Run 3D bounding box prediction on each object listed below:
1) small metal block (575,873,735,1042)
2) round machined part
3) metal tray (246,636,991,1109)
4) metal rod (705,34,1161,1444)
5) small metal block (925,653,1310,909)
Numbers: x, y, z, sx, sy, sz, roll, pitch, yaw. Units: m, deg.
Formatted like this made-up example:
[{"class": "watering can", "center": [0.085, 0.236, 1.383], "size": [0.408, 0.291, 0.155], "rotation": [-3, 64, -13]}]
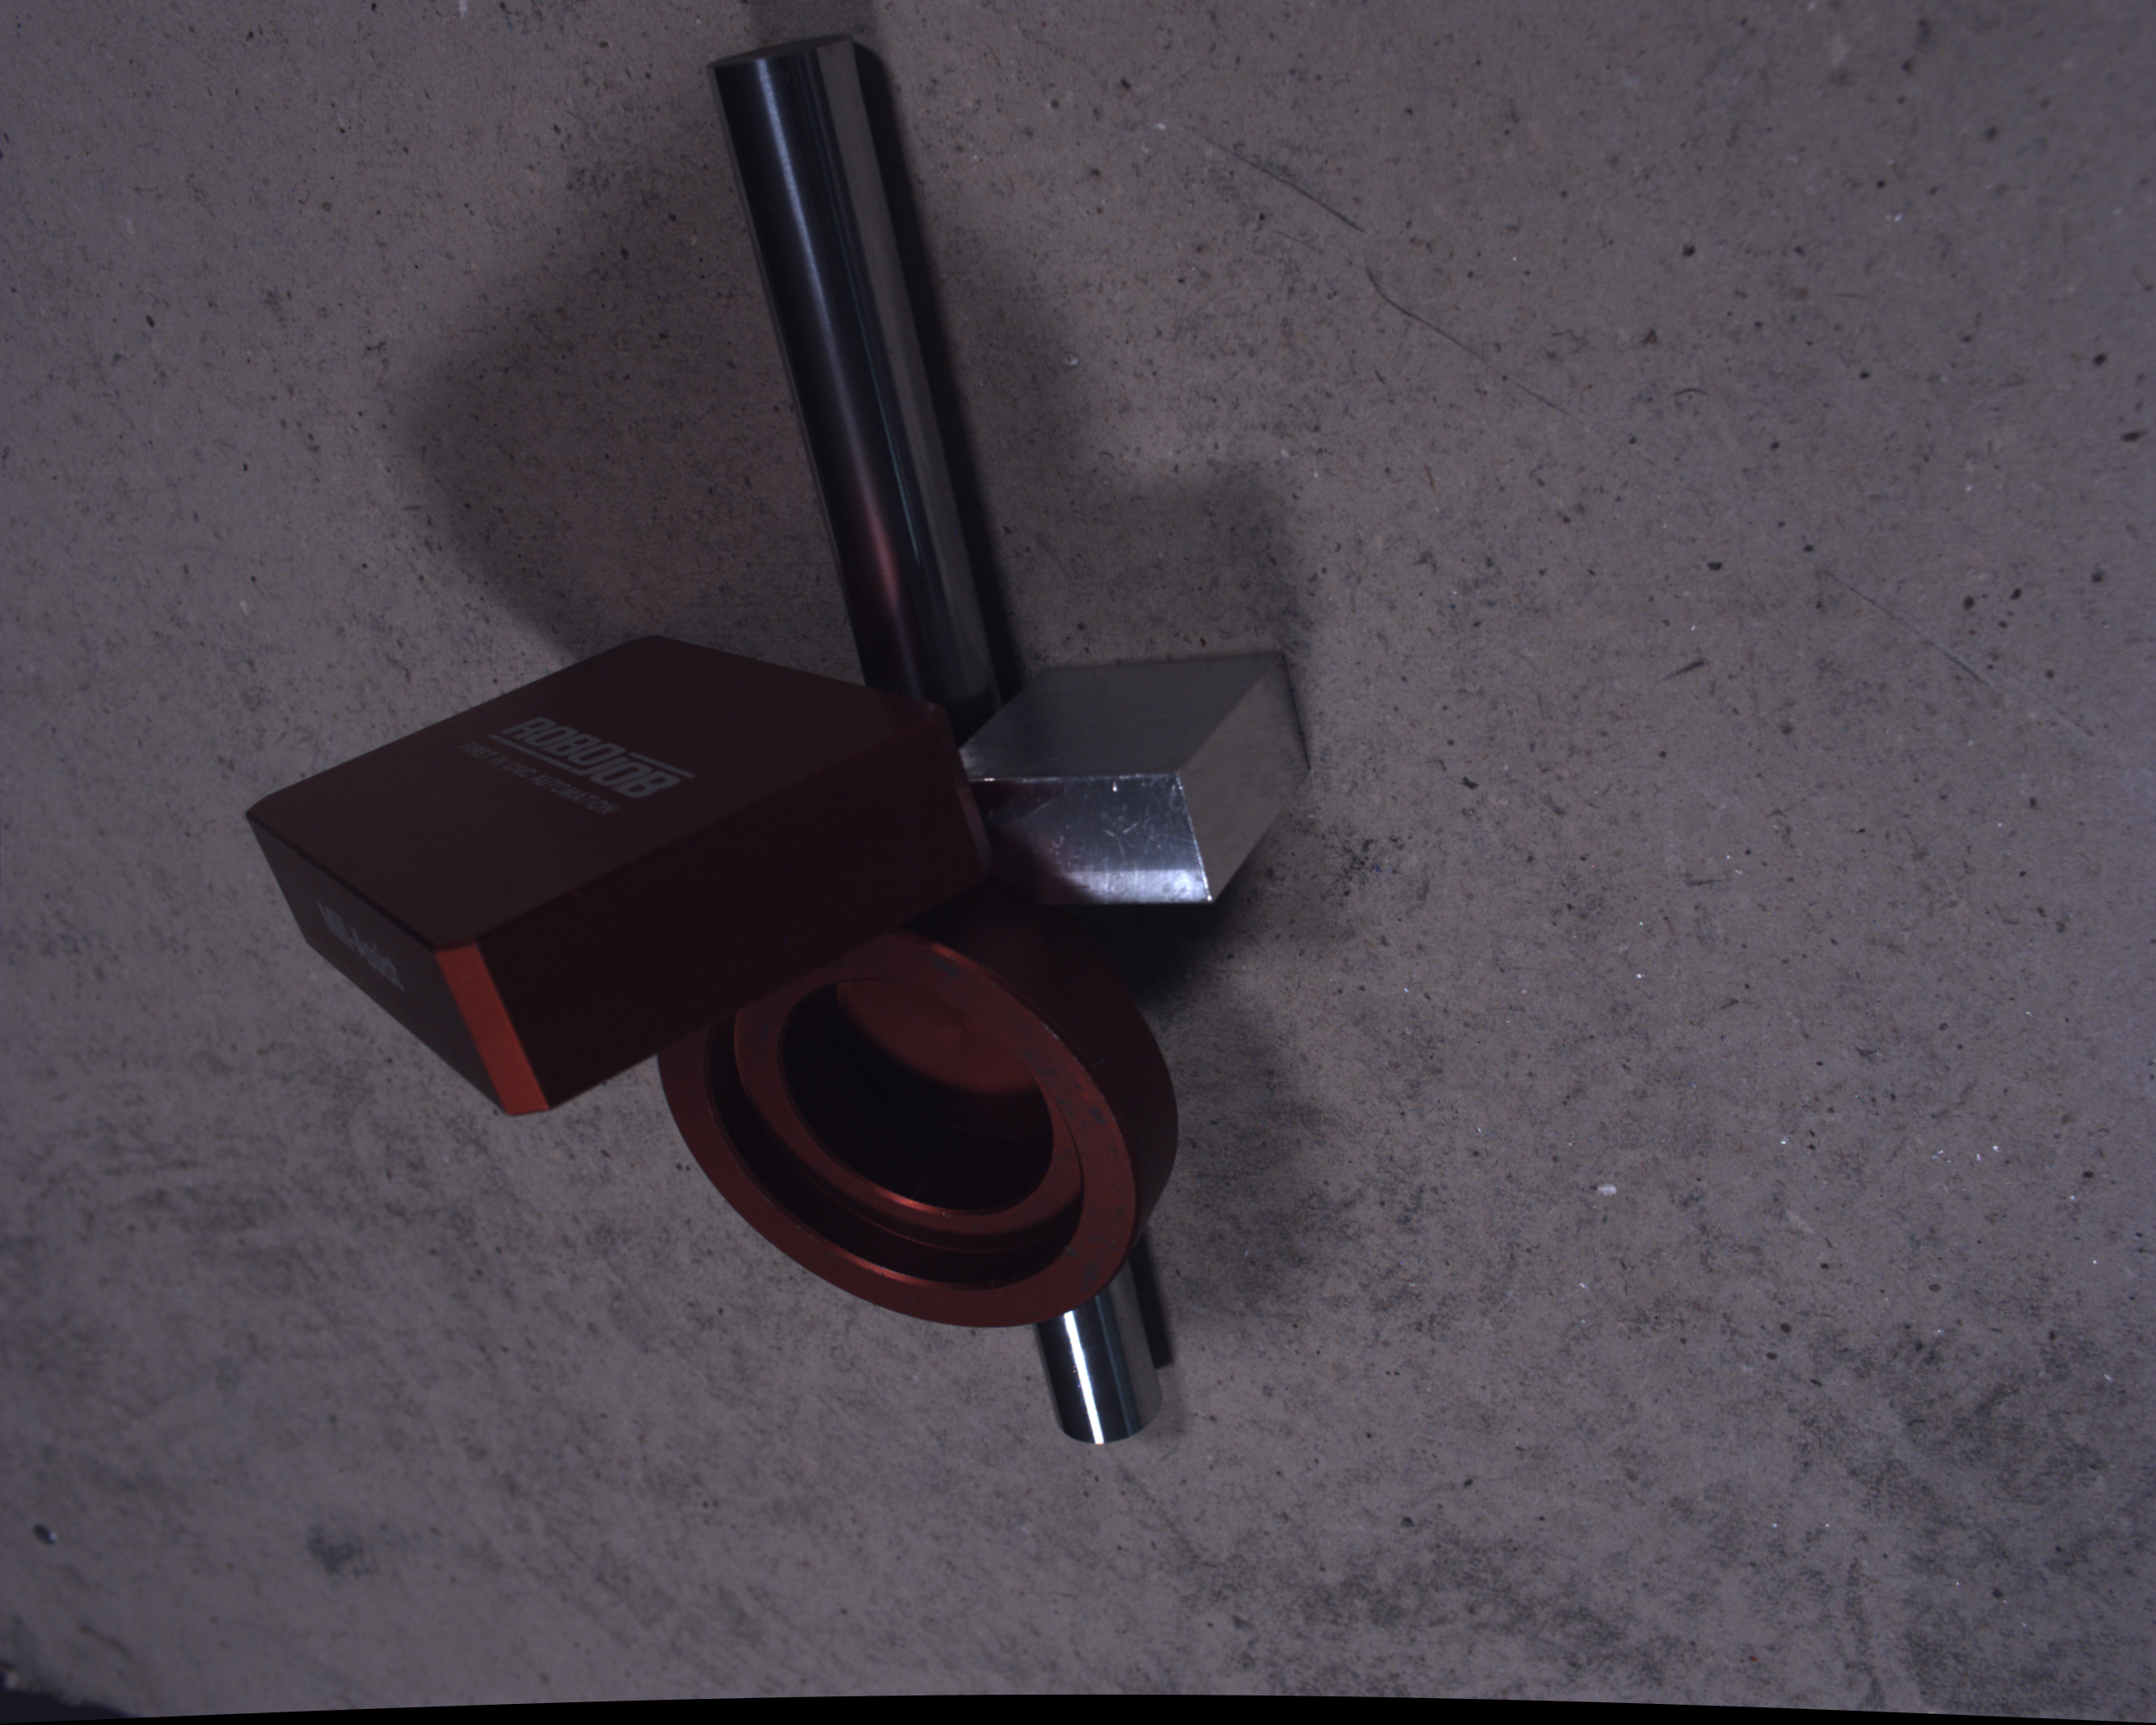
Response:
[{"class": "small metal block", "center": [-0.075, 0.011, 0.437], "size": [0.050, 0.050, 0.025], "rotation": [-20, 108, 35]}, {"class": "round machined part", "center": [-0.027, 0.039, 0.399], "size": [0.098, 0.042, 0.097], "rotation": [12, 127, 18]}, {"class": "metal tray", "center": [-0.088, -0.005, 0.377], "size": [0.130, 0.091, 0.030], "rotation": [18, 130, 54]}, {"class": "metal rod", "center": [-0.022, -0.006, 0.415], "size": [0.025, 0.025, 0.298], "rotation": [2, 120, 27]}, {"class": "small metal block", "center": [0.008, -0.015, 0.378], "size": [0.050, 0.050, 0.025], "rotation": [-1, 118, 28]}]
